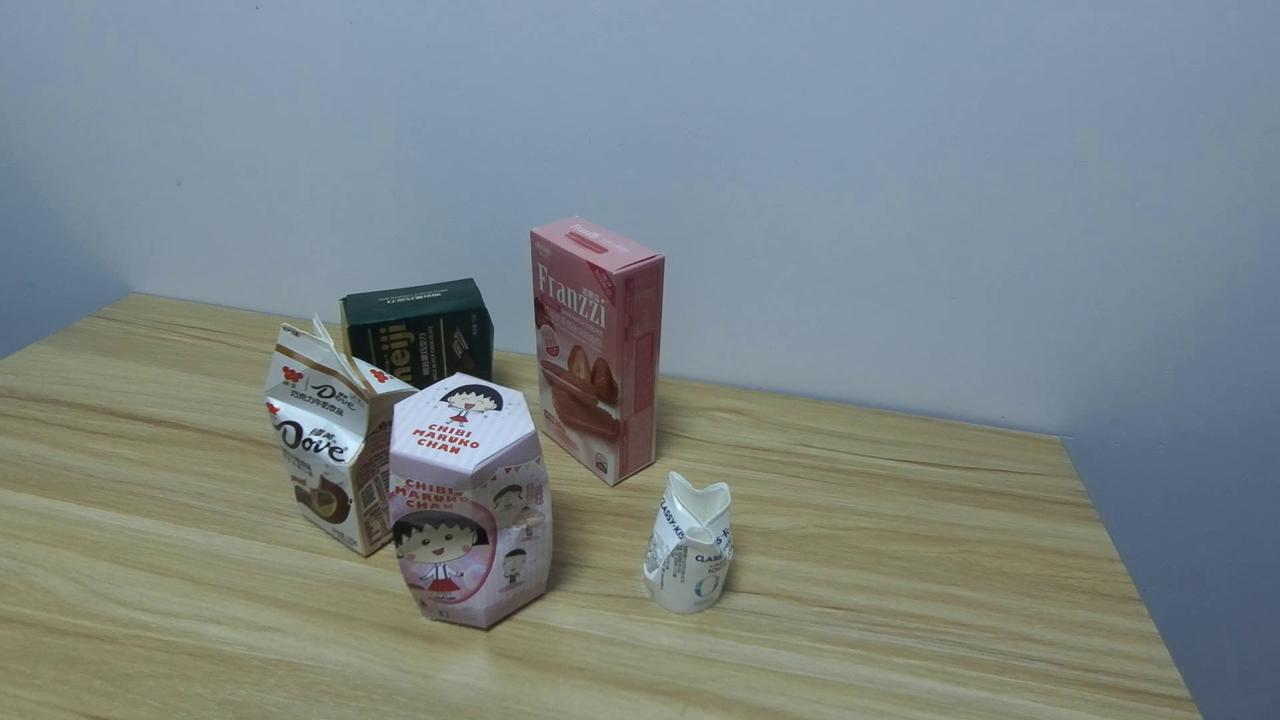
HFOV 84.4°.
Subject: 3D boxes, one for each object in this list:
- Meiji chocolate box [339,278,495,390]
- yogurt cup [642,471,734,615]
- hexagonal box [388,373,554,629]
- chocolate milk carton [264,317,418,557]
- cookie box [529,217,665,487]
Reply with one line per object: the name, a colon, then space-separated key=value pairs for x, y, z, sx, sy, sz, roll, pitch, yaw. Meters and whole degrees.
Meiji chocolate box: x=-0.185 y=-0.004 z=0.595 sx=0.123 sy=0.116 sz=0.058 roll=-9 pitch=35 yaw=-21
yogurt cup: x=0.033 y=0.119 z=0.454 sx=0.055 sy=0.072 sz=0.055 roll=14 pitch=35 yaw=15
hexagonal box: x=-0.106 y=0.088 z=0.433 sx=0.089 sy=0.135 sz=0.093 roll=-10 pitch=34 yaw=-21
chocolate milk carton: x=-0.191 y=0.044 z=0.472 sx=0.076 sy=0.156 sz=0.074 roll=22 pitch=38 yaw=28
cookie box: x=-0.034 y=-0.004 z=0.540 sx=0.048 sy=0.185 sz=0.095 roll=-25 pitch=41 yaw=-37
